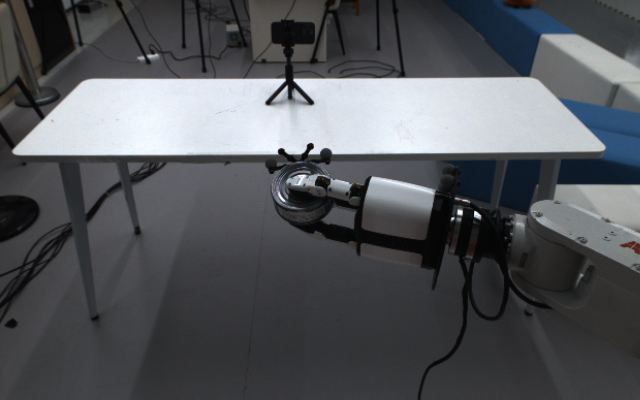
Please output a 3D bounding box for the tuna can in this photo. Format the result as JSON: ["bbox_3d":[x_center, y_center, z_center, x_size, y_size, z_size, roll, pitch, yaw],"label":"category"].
[{"bbox_3d":[-0.019,-0.005,0.657,0.085,0.034,0.085,-3,58,5],"label":"tuna can"}]
